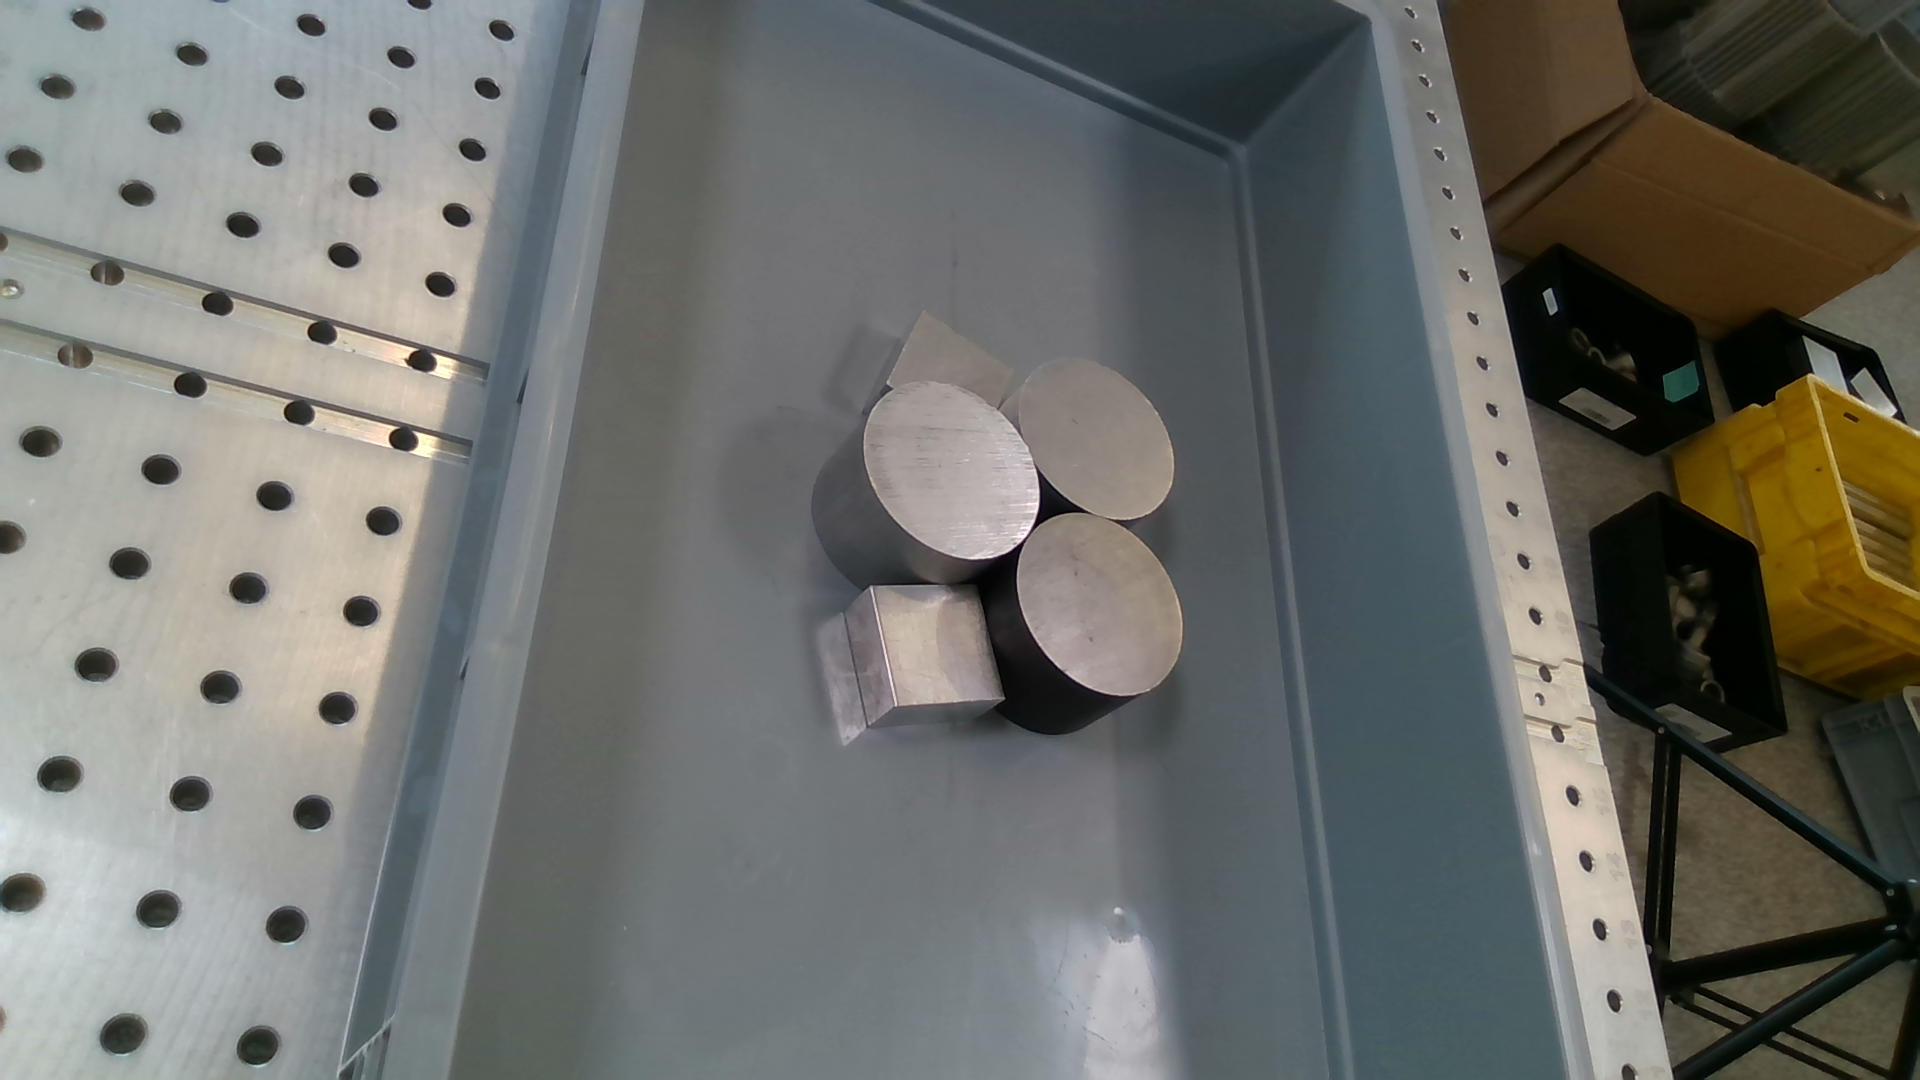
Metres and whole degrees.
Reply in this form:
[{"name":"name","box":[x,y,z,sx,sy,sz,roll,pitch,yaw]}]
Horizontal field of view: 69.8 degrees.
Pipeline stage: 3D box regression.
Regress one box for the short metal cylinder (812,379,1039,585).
[{"name":"short metal cylinder","box":[-0.015,-0.019,0.570,0.080,0.050,0.080,14,59,-25]}]

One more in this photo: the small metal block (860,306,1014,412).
[{"name":"small metal block","box":[-0.010,-0.068,0.616,0.050,0.025,0.050,32,53,-13]}]

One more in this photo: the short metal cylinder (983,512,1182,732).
[{"name":"short metal cylinder","box":[0.046,0.035,0.578,0.080,0.050,0.080,14,59,-25]}]

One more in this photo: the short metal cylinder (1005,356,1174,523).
[{"name":"short metal cylinder","box":[0.048,-0.035,0.617,0.080,0.050,0.080,14,59,-25]}]

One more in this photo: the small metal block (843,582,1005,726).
[{"name":"small metal block","box":[-0.015,0.045,0.552,0.050,0.025,0.050,0,65,-32]}]
